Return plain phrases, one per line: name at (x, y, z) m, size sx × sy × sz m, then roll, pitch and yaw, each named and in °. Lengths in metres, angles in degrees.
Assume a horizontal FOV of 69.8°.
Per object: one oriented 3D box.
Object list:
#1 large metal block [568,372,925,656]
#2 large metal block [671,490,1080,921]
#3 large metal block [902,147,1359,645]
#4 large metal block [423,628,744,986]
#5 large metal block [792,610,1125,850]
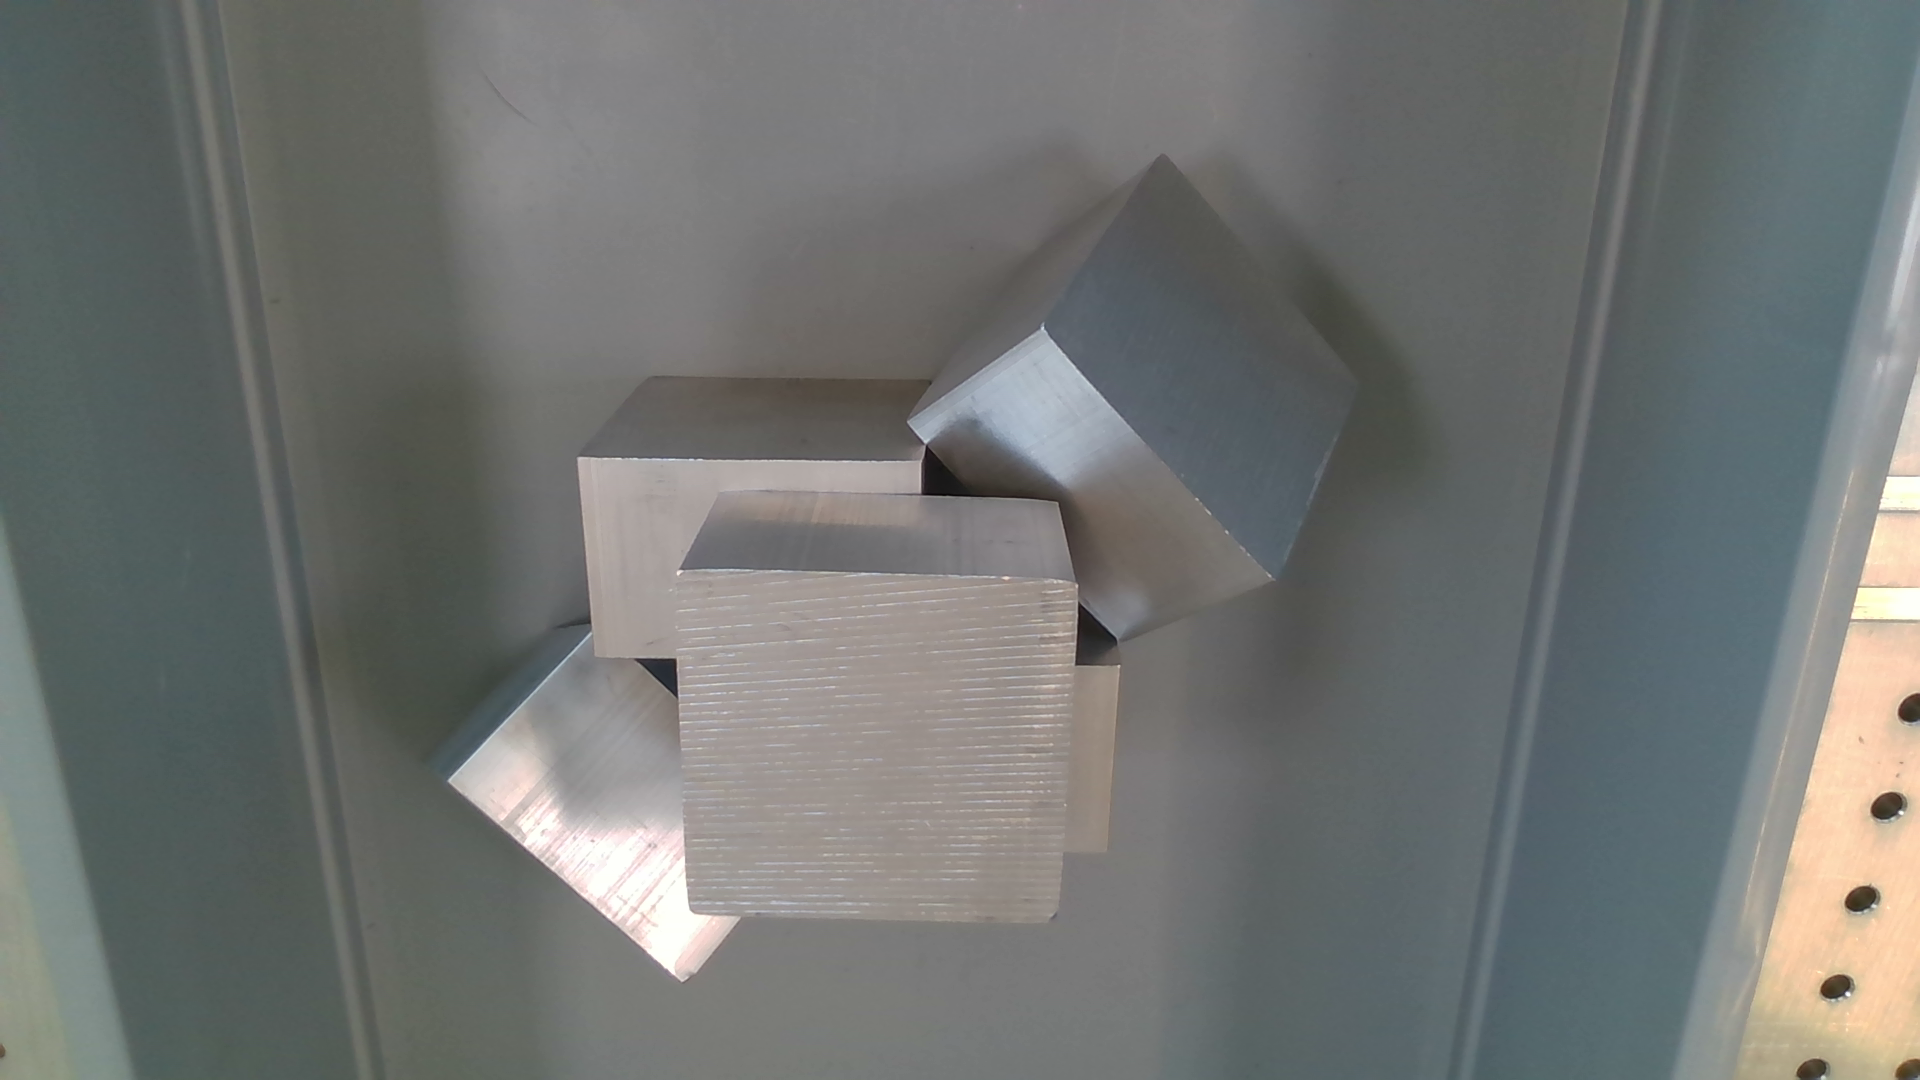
large metal block at (-0.050, -0.010, 0.360) m, size 0.080 × 0.080 × 0.050 m, roll 1°, pitch 110°, yaw -1°
large metal block at (-0.018, 0.035, 0.307) m, size 0.080 × 0.050 × 0.080 m, roll 2°, pitch 110°, yaw -1°
large metal block at (0.045, -0.035, 0.342) m, size 0.080 × 0.080 × 0.050 m, roll 45°, pitch 139°, yaw -15°
large metal block at (-0.097, 0.070, 0.381) m, size 0.080 × 0.080 × 0.050 m, roll 47°, pitch 68°, yaw -15°
large metal block at (-0.001, 0.041, 0.377) m, size 0.080 × 0.080 × 0.050 m, roll 1°, pitch 110°, yaw -1°
